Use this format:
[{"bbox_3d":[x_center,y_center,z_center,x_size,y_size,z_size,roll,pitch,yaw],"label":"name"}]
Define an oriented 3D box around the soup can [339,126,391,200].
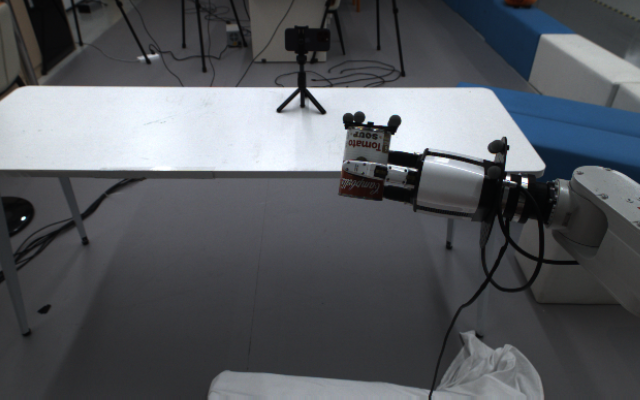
[{"bbox_3d":[0.067,-0.055,0.720,0.067,0.101,0.067,7,4,0],"label":"soup can"}]
